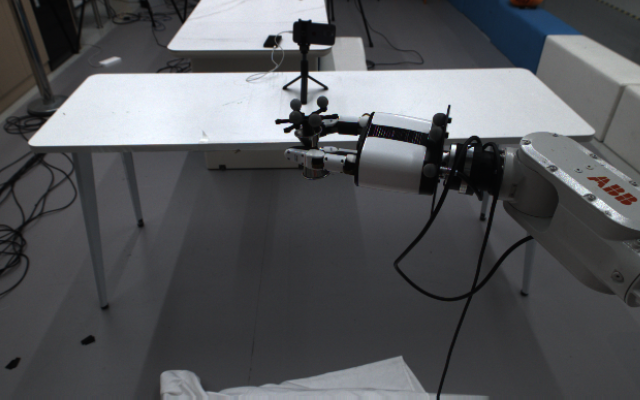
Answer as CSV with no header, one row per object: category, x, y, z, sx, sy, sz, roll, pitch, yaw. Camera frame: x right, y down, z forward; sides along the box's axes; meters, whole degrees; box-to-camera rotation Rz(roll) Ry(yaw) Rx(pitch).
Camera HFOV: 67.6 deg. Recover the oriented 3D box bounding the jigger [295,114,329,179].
jigger,-0.009,-0.071,0.701,0.043,0.071,0.043,-9,31,5
